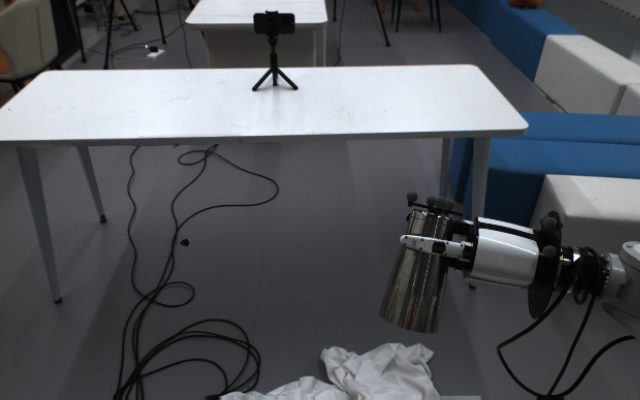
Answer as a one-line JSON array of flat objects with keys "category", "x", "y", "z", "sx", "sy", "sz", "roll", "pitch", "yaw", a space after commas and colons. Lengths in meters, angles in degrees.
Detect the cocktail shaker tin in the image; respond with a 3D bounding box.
[{"category": "cocktail shaker tin", "x": 0.156, "y": 0.101, "z": 0.741, "sx": 0.093, "sy": 0.170, "sz": 0.093, "roll": 13, "pitch": 3, "yaw": -1}]
